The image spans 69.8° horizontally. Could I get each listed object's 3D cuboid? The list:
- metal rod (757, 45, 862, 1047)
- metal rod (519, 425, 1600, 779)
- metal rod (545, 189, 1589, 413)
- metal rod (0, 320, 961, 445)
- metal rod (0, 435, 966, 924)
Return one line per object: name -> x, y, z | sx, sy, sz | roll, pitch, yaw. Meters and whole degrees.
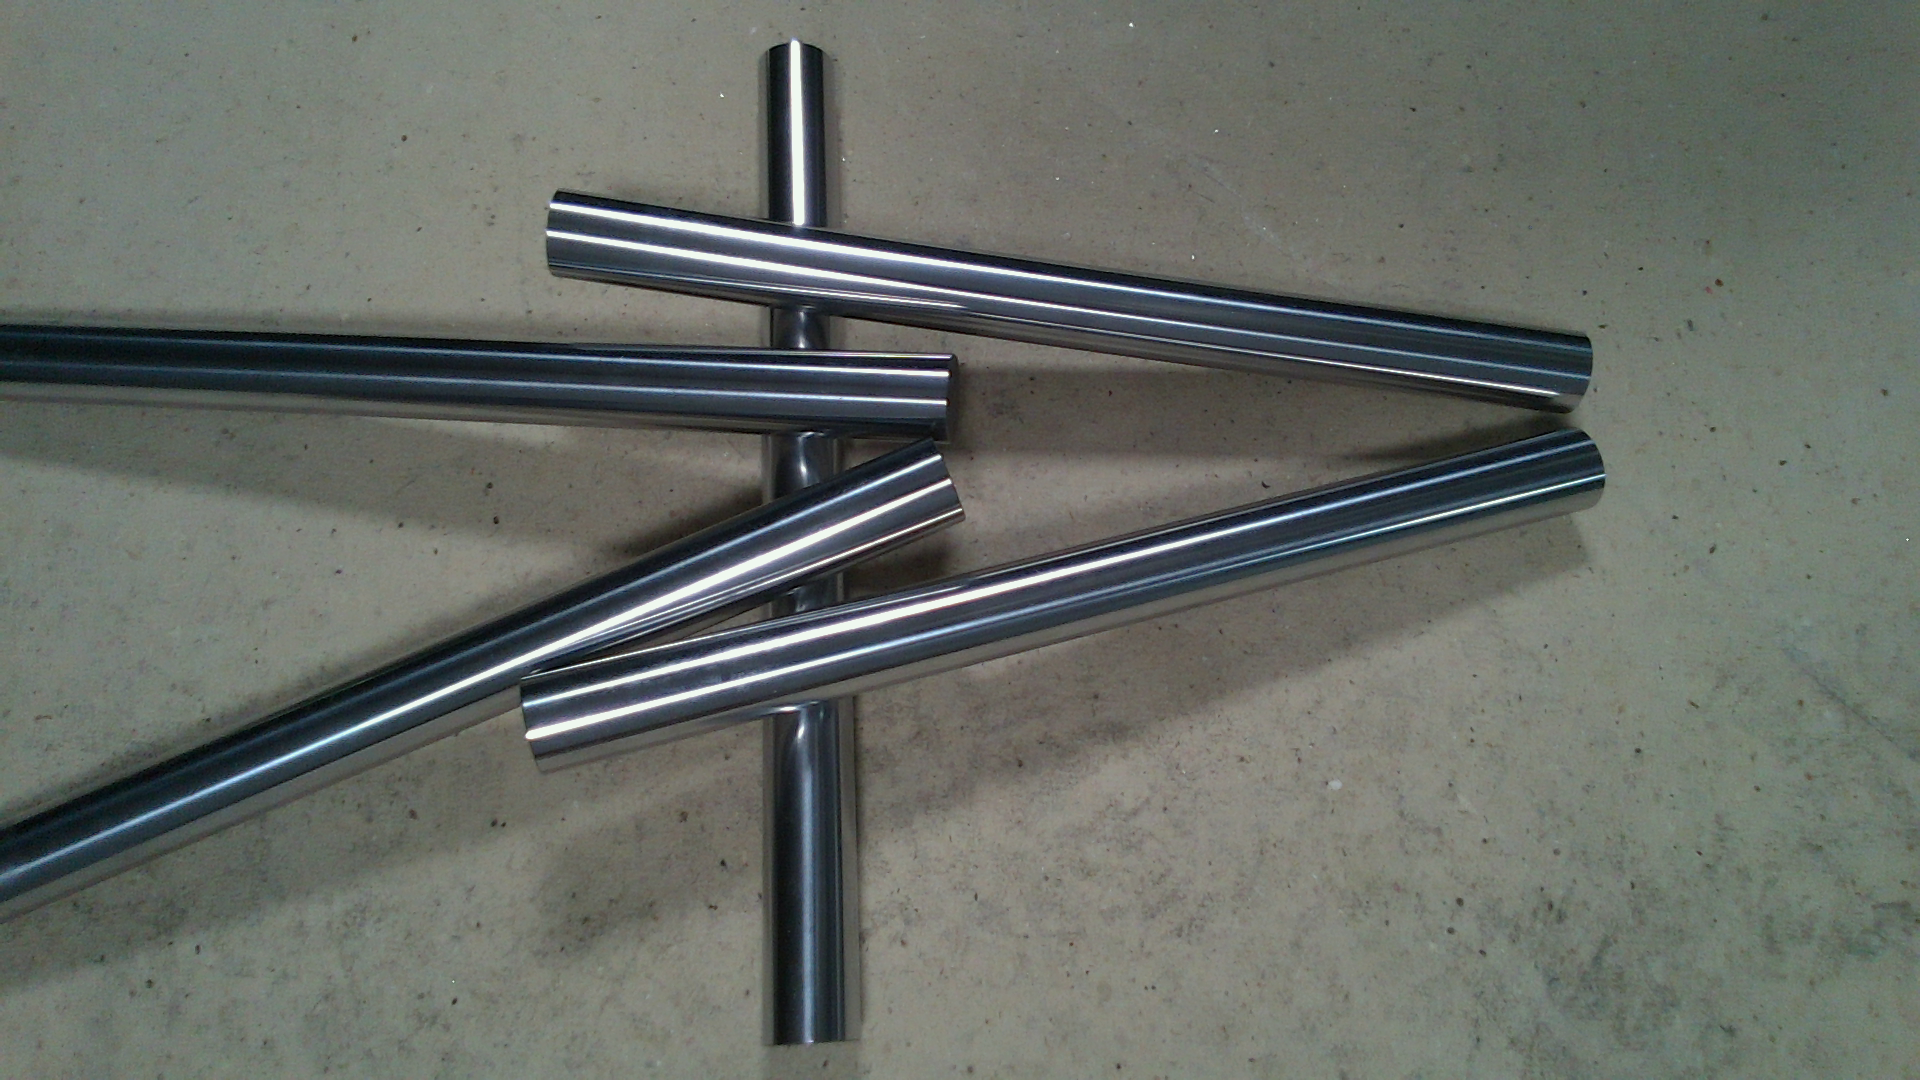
metal rod -> -0.046, -0.013, 0.399 | 0.025, 0.025, 0.300 | -3, 70, -1
metal rod -> 0.036, 0.013, 0.373 | 0.300, 0.025, 0.025 | -14, 70, -12
metal rod -> 0.034, -0.069, 0.403 | 0.300, 0.025, 0.025 | 7, 70, -4
metal rod -> -0.150, -0.046, 0.396 | 0.300, 0.025, 0.025 | 3, 70, 7
metal rod -> -0.141, 0.041, 0.365 | 0.300, 0.025, 0.025 | -23, 71, -2
